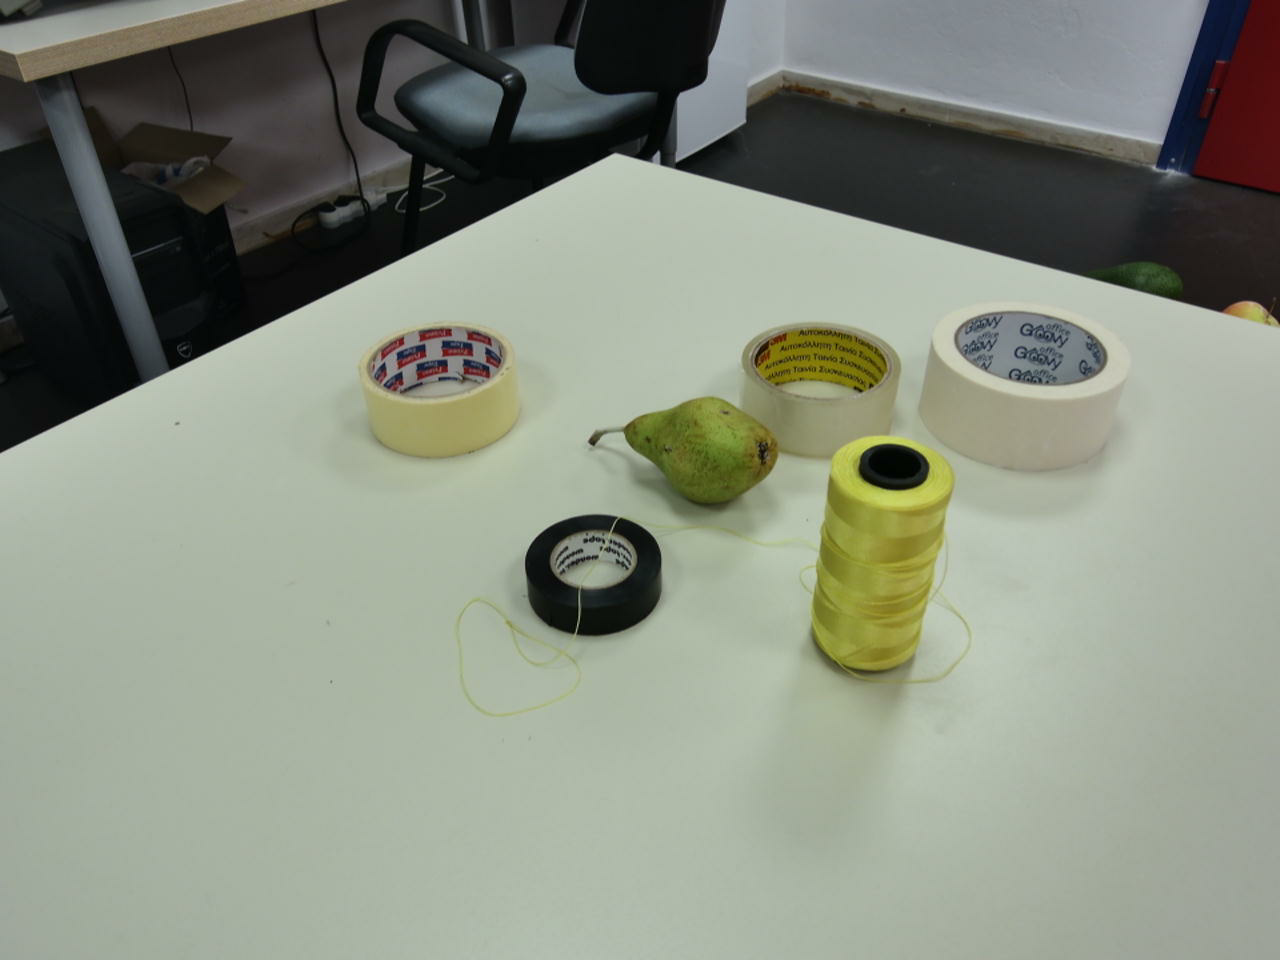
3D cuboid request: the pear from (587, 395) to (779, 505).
[{"bbox_3d":[0.025,-0.024,0.540,0.056,0.056,0.111,-24,43,-28],"label":"pear"}]
